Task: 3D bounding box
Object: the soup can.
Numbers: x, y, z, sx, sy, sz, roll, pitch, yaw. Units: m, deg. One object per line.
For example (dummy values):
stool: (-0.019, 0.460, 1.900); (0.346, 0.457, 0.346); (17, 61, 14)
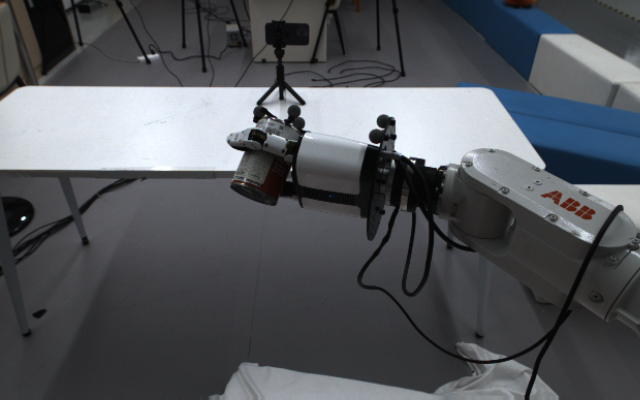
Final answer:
soup can: (-0.071, -0.052, 0.652); (0.067, 0.067, 0.101); (16, 75, 19)
